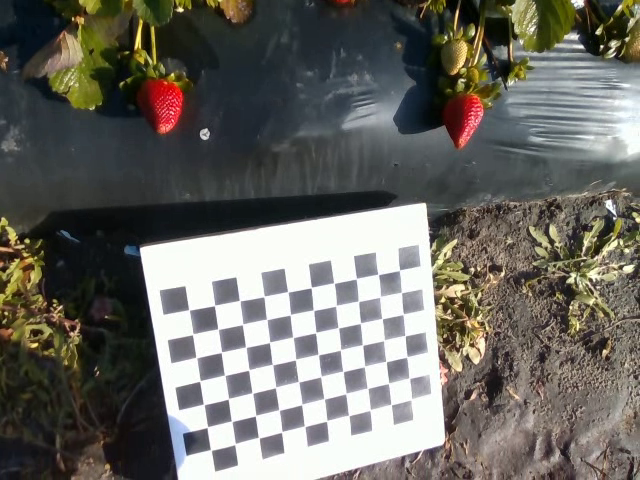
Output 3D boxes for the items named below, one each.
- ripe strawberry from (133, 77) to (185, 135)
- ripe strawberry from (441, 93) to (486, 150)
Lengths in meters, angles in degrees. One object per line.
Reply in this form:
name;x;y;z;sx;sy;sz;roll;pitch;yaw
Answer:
ripe strawberry;-0.132;-0.110;0.534;0.045;0.055;0.042;-2;-22;-22
ripe strawberry;0.129;-0.108;0.586;0.042;0.059;0.042;14;-7;-23
